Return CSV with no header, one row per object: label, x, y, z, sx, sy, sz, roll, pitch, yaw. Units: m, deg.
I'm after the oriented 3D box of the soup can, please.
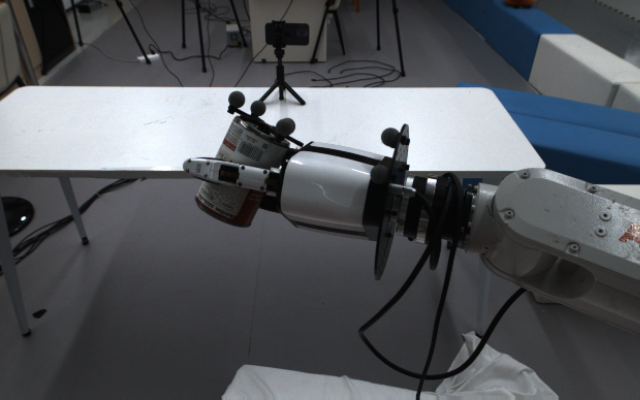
soup can,-0.082,-0.030,0.525,0.067,0.101,0.067,27,10,-5
